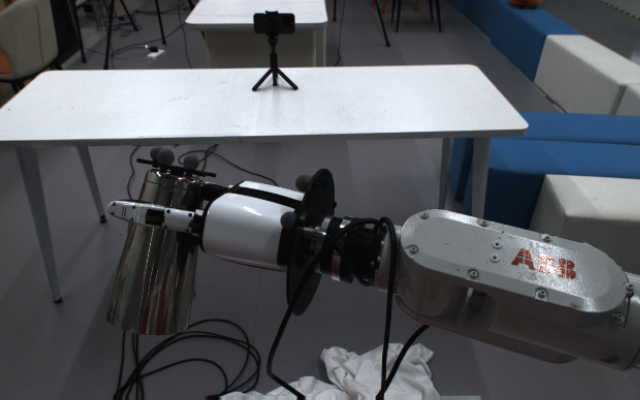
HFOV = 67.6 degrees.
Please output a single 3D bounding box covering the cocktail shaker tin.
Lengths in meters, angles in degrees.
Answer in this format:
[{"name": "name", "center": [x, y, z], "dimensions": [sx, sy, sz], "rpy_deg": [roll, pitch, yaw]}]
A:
[{"name": "cocktail shaker tin", "center": [-0.179, 0.053, 0.554], "dimensions": [0.093, 0.170, 0.093], "rpy_deg": [12, 3, -1]}]
